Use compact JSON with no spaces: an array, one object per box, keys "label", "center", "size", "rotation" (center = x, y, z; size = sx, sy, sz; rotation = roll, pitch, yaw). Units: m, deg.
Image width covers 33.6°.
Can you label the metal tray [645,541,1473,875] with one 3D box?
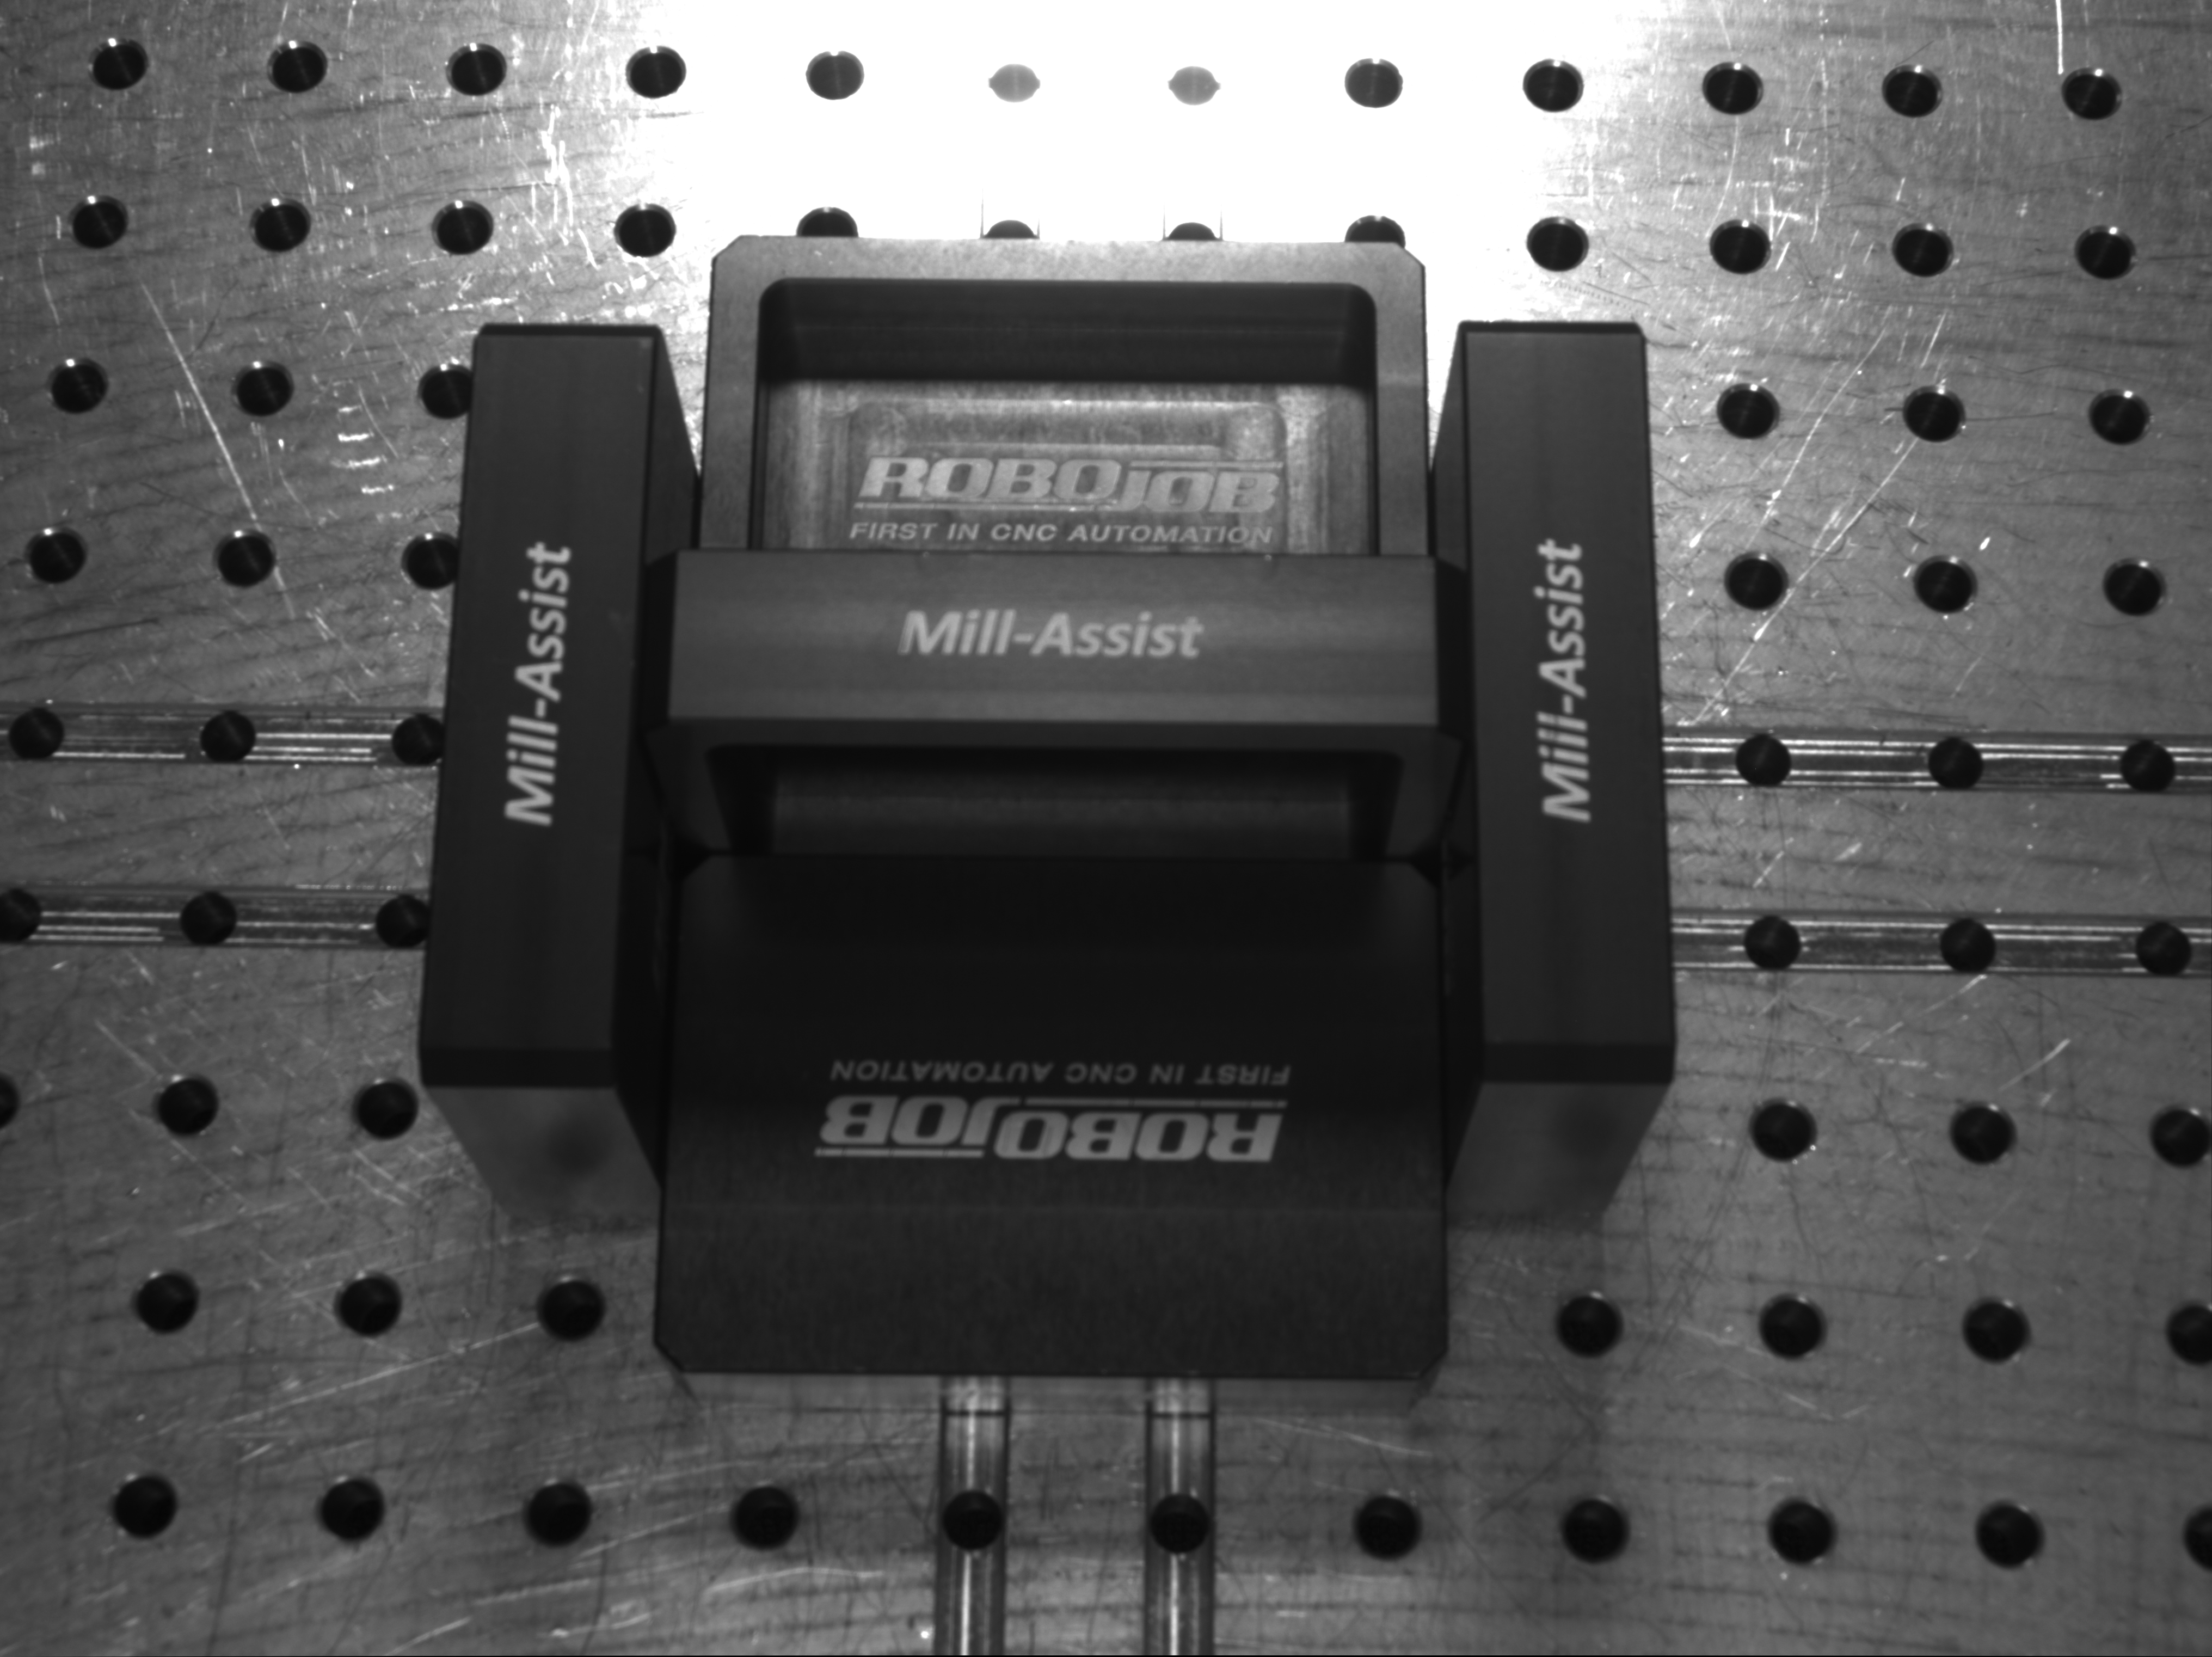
[{"label":"metal tray","center":[-0.007,-0.015,0.617],"size":[0.130,0.090,0.030],"rotation":[1,70,0]}]

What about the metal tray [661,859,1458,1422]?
[{"label":"metal tray","center":[-0.007,0.053,0.624],"size":[0.130,0.030,0.090],"rotation":[1,70,0]}]

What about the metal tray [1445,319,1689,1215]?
[{"label":"metal tray","center":[0.074,-0.009,0.615],"size":[0.030,0.090,0.130],"rotation":[1,70,1]}]

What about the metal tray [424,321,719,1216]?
[{"label":"metal tray","center":[-0.087,-0.008,0.615],"size":[0.030,0.090,0.130],"rotation":[1,70,1]}]

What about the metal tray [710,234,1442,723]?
[{"label":"metal tray","center":[-0.005,-0.061,0.667],"size":[0.130,0.030,0.090],"rotation":[1,70,0]}]
